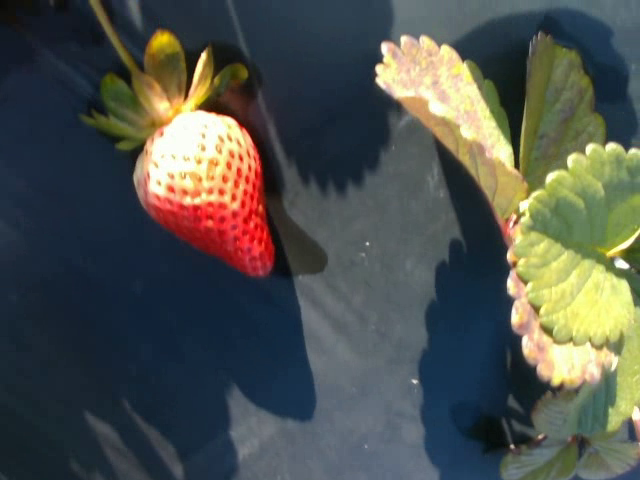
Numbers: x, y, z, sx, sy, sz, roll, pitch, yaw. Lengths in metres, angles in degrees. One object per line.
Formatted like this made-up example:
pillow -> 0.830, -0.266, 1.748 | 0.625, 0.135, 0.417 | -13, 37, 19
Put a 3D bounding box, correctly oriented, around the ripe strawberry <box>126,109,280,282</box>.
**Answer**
ripe strawberry -> -0.029, -0.010, 0.177 | 0.043, 0.064, 0.044 | -43, 11, -31
